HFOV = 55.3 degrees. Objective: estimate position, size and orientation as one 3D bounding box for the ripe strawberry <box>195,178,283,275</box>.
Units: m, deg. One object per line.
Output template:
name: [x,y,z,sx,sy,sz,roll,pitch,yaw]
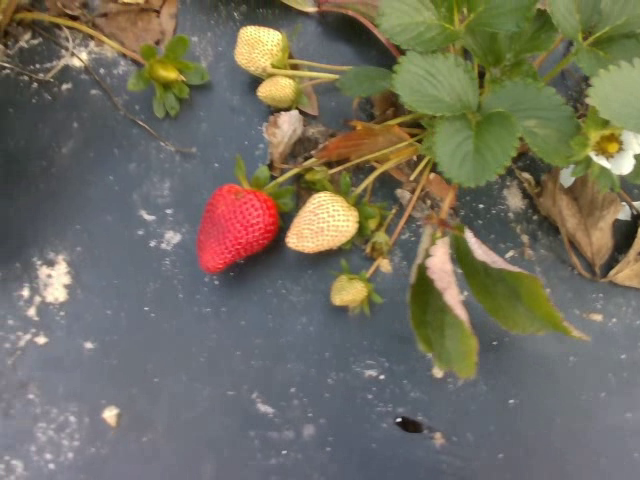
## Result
ripe strawberry: [-0.046,-0.005,0.318,0.050,0.059,0.034,20,-31,6]
